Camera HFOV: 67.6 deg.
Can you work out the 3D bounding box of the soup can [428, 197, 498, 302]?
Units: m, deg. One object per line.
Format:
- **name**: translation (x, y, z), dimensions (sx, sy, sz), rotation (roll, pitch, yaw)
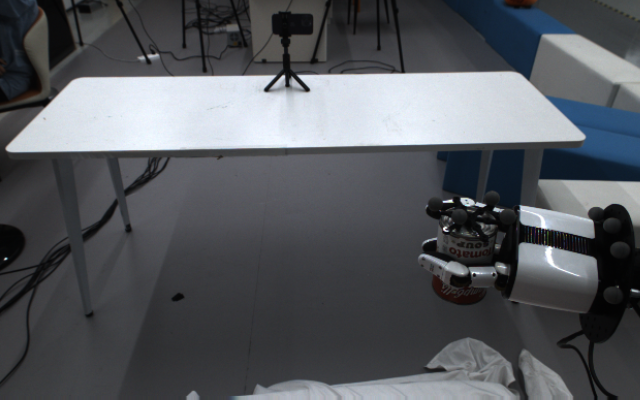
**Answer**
- **soup can**: translation (0.176, 0.066, 0.588), dimensions (0.067, 0.101, 0.067), rotation (-2, 32, 1)
